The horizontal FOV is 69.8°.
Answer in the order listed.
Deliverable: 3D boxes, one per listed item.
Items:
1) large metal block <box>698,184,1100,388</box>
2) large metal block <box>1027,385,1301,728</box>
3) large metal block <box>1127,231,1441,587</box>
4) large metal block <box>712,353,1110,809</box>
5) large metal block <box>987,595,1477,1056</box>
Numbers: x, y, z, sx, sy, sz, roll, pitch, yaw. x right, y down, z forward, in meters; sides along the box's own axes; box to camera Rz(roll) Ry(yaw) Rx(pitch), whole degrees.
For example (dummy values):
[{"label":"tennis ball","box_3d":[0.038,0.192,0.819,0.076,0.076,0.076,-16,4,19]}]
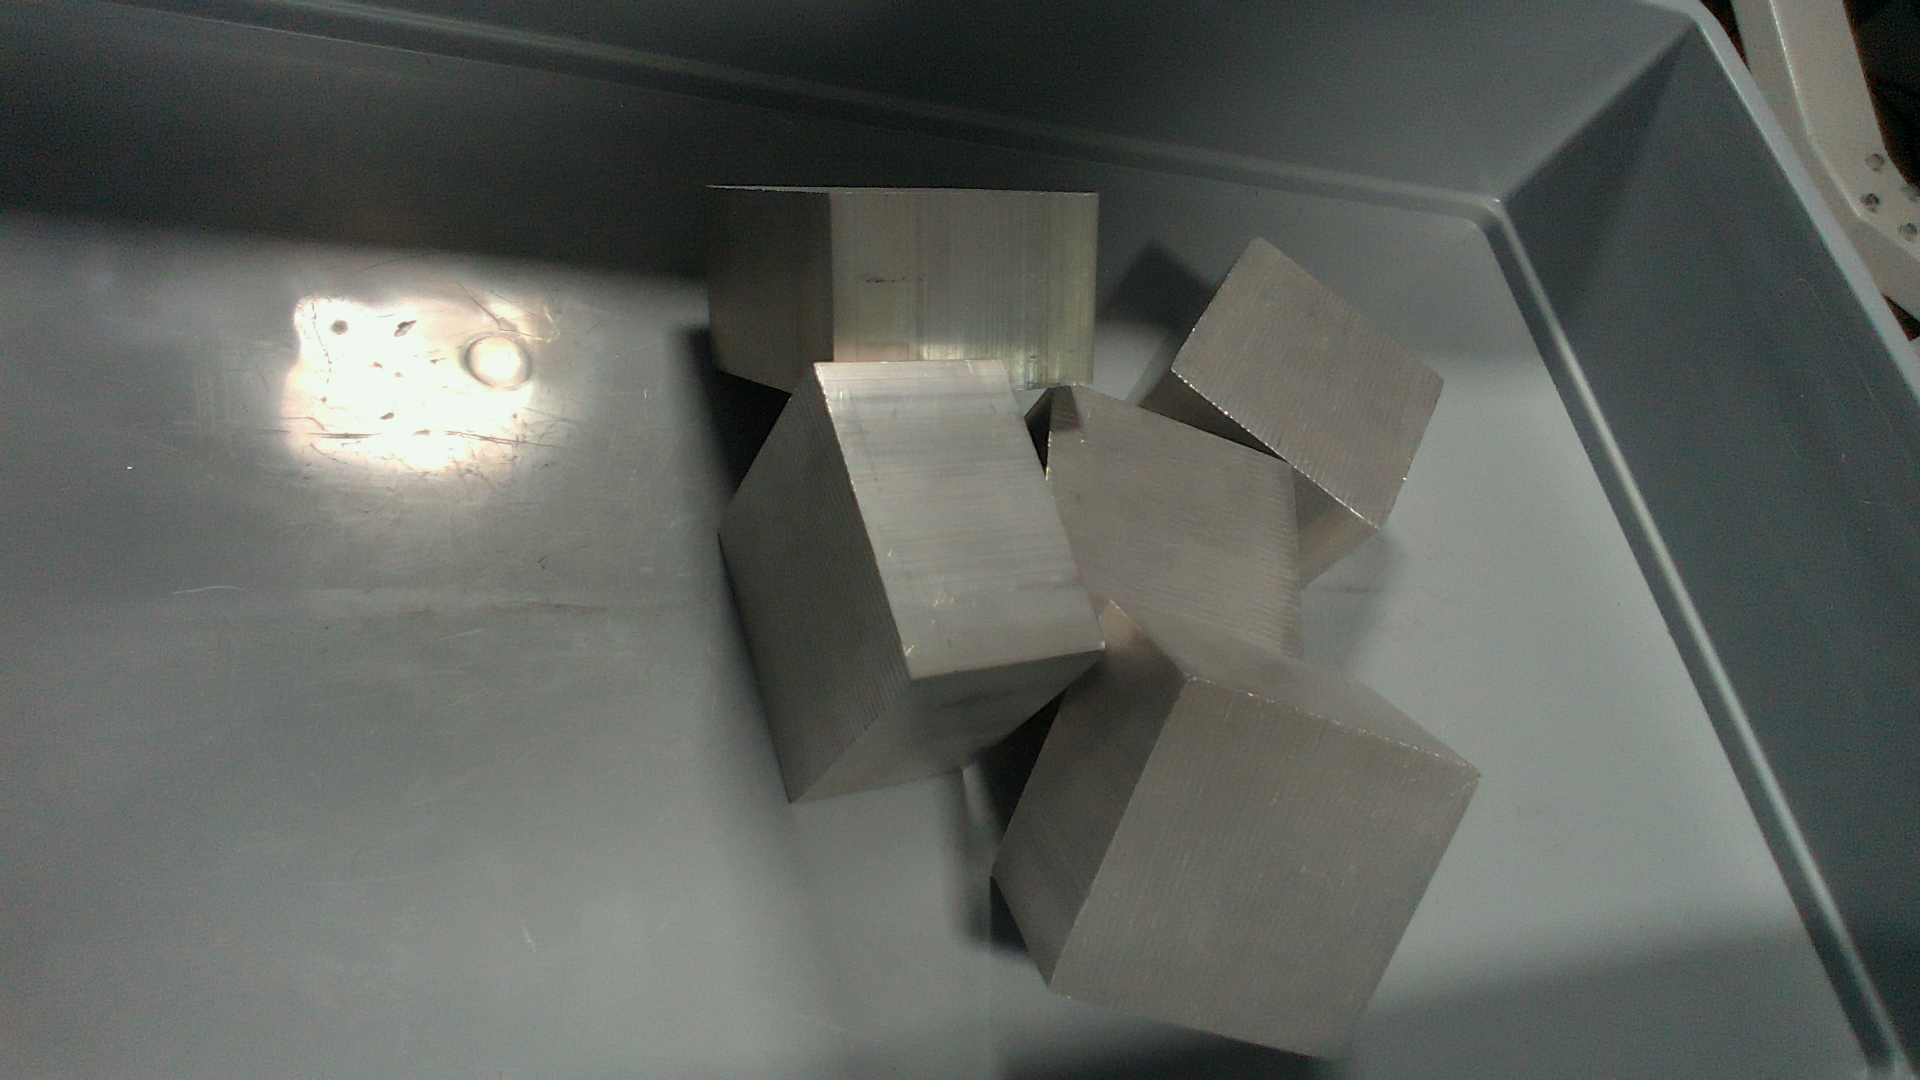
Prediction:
[{"label":"large metal block","box_3d":[-0.019,-0.071,0.379,0.080,0.080,0.050,-8,107,-31]},{"label":"large metal block","box_3d":[0.048,0.011,0.392,0.080,0.050,0.080,18,55,-18]},{"label":"large metal block","box_3d":[0.100,-0.040,0.451,0.080,0.050,0.080,38,51,-3]},{"label":"large metal block","box_3d":[-0.017,0.011,0.338,0.050,0.080,0.080,-6,64,-31]},{"label":"large metal block","box_3d":[0.063,0.069,0.336,0.080,0.080,0.050,19,12,-19]}]
